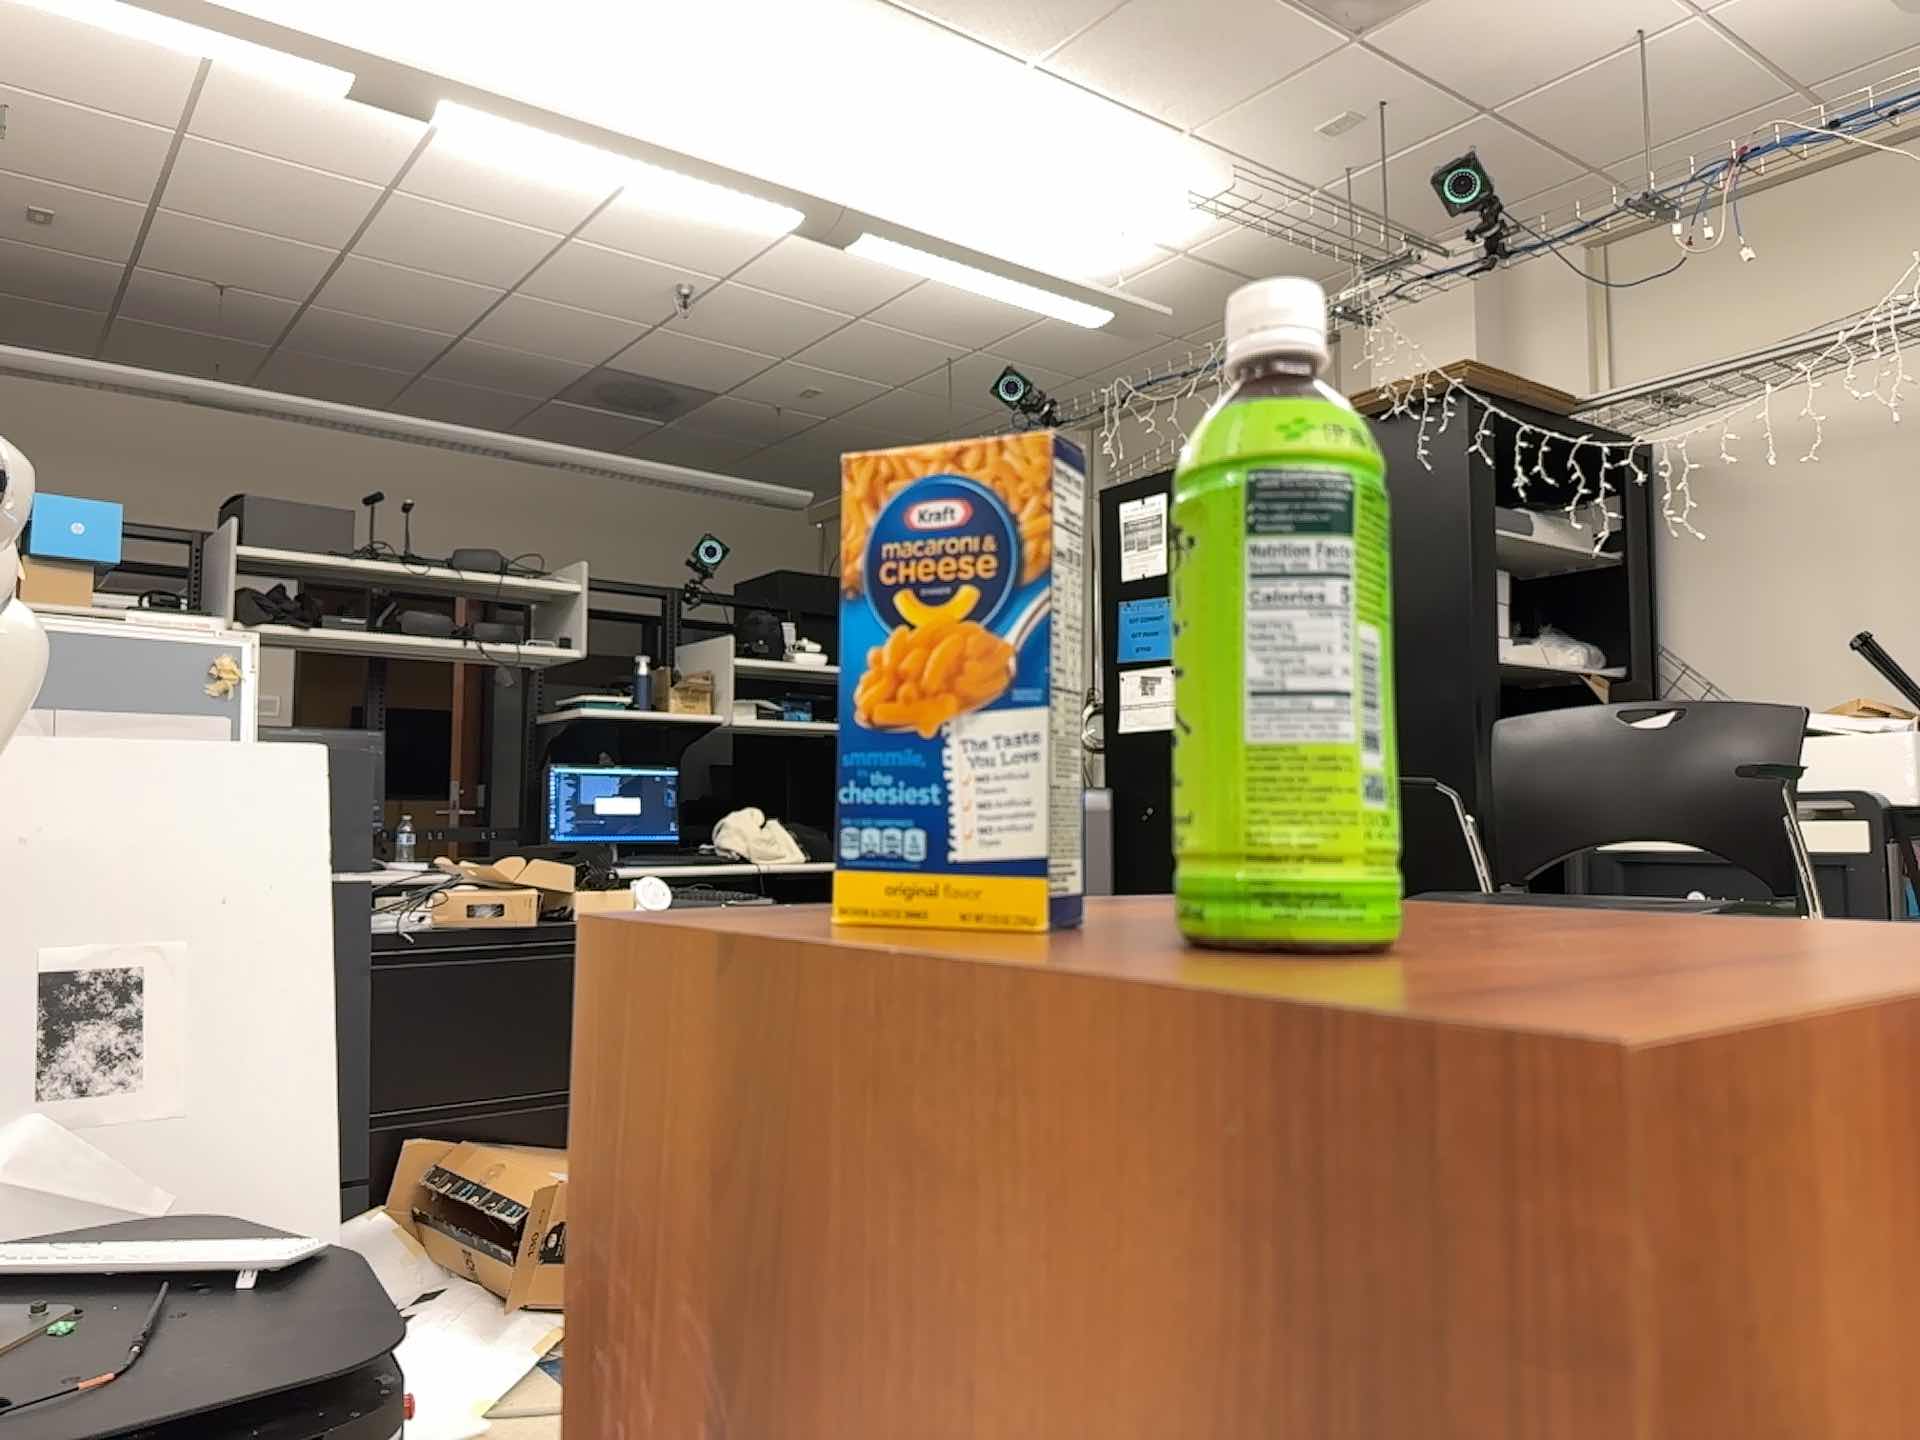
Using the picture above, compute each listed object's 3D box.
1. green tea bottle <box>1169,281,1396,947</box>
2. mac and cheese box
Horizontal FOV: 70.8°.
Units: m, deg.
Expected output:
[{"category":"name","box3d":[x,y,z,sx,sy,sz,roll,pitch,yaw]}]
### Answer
[{"category":"green tea bottle","box3d":[0.103,-0.035,0.434,0.073,0.212,0.073,3,-7,0]},{"category":"mac and cheese box","box3d":[0.002,-0.009,0.520,0.088,0.181,0.035,-4,-9,29]}]
